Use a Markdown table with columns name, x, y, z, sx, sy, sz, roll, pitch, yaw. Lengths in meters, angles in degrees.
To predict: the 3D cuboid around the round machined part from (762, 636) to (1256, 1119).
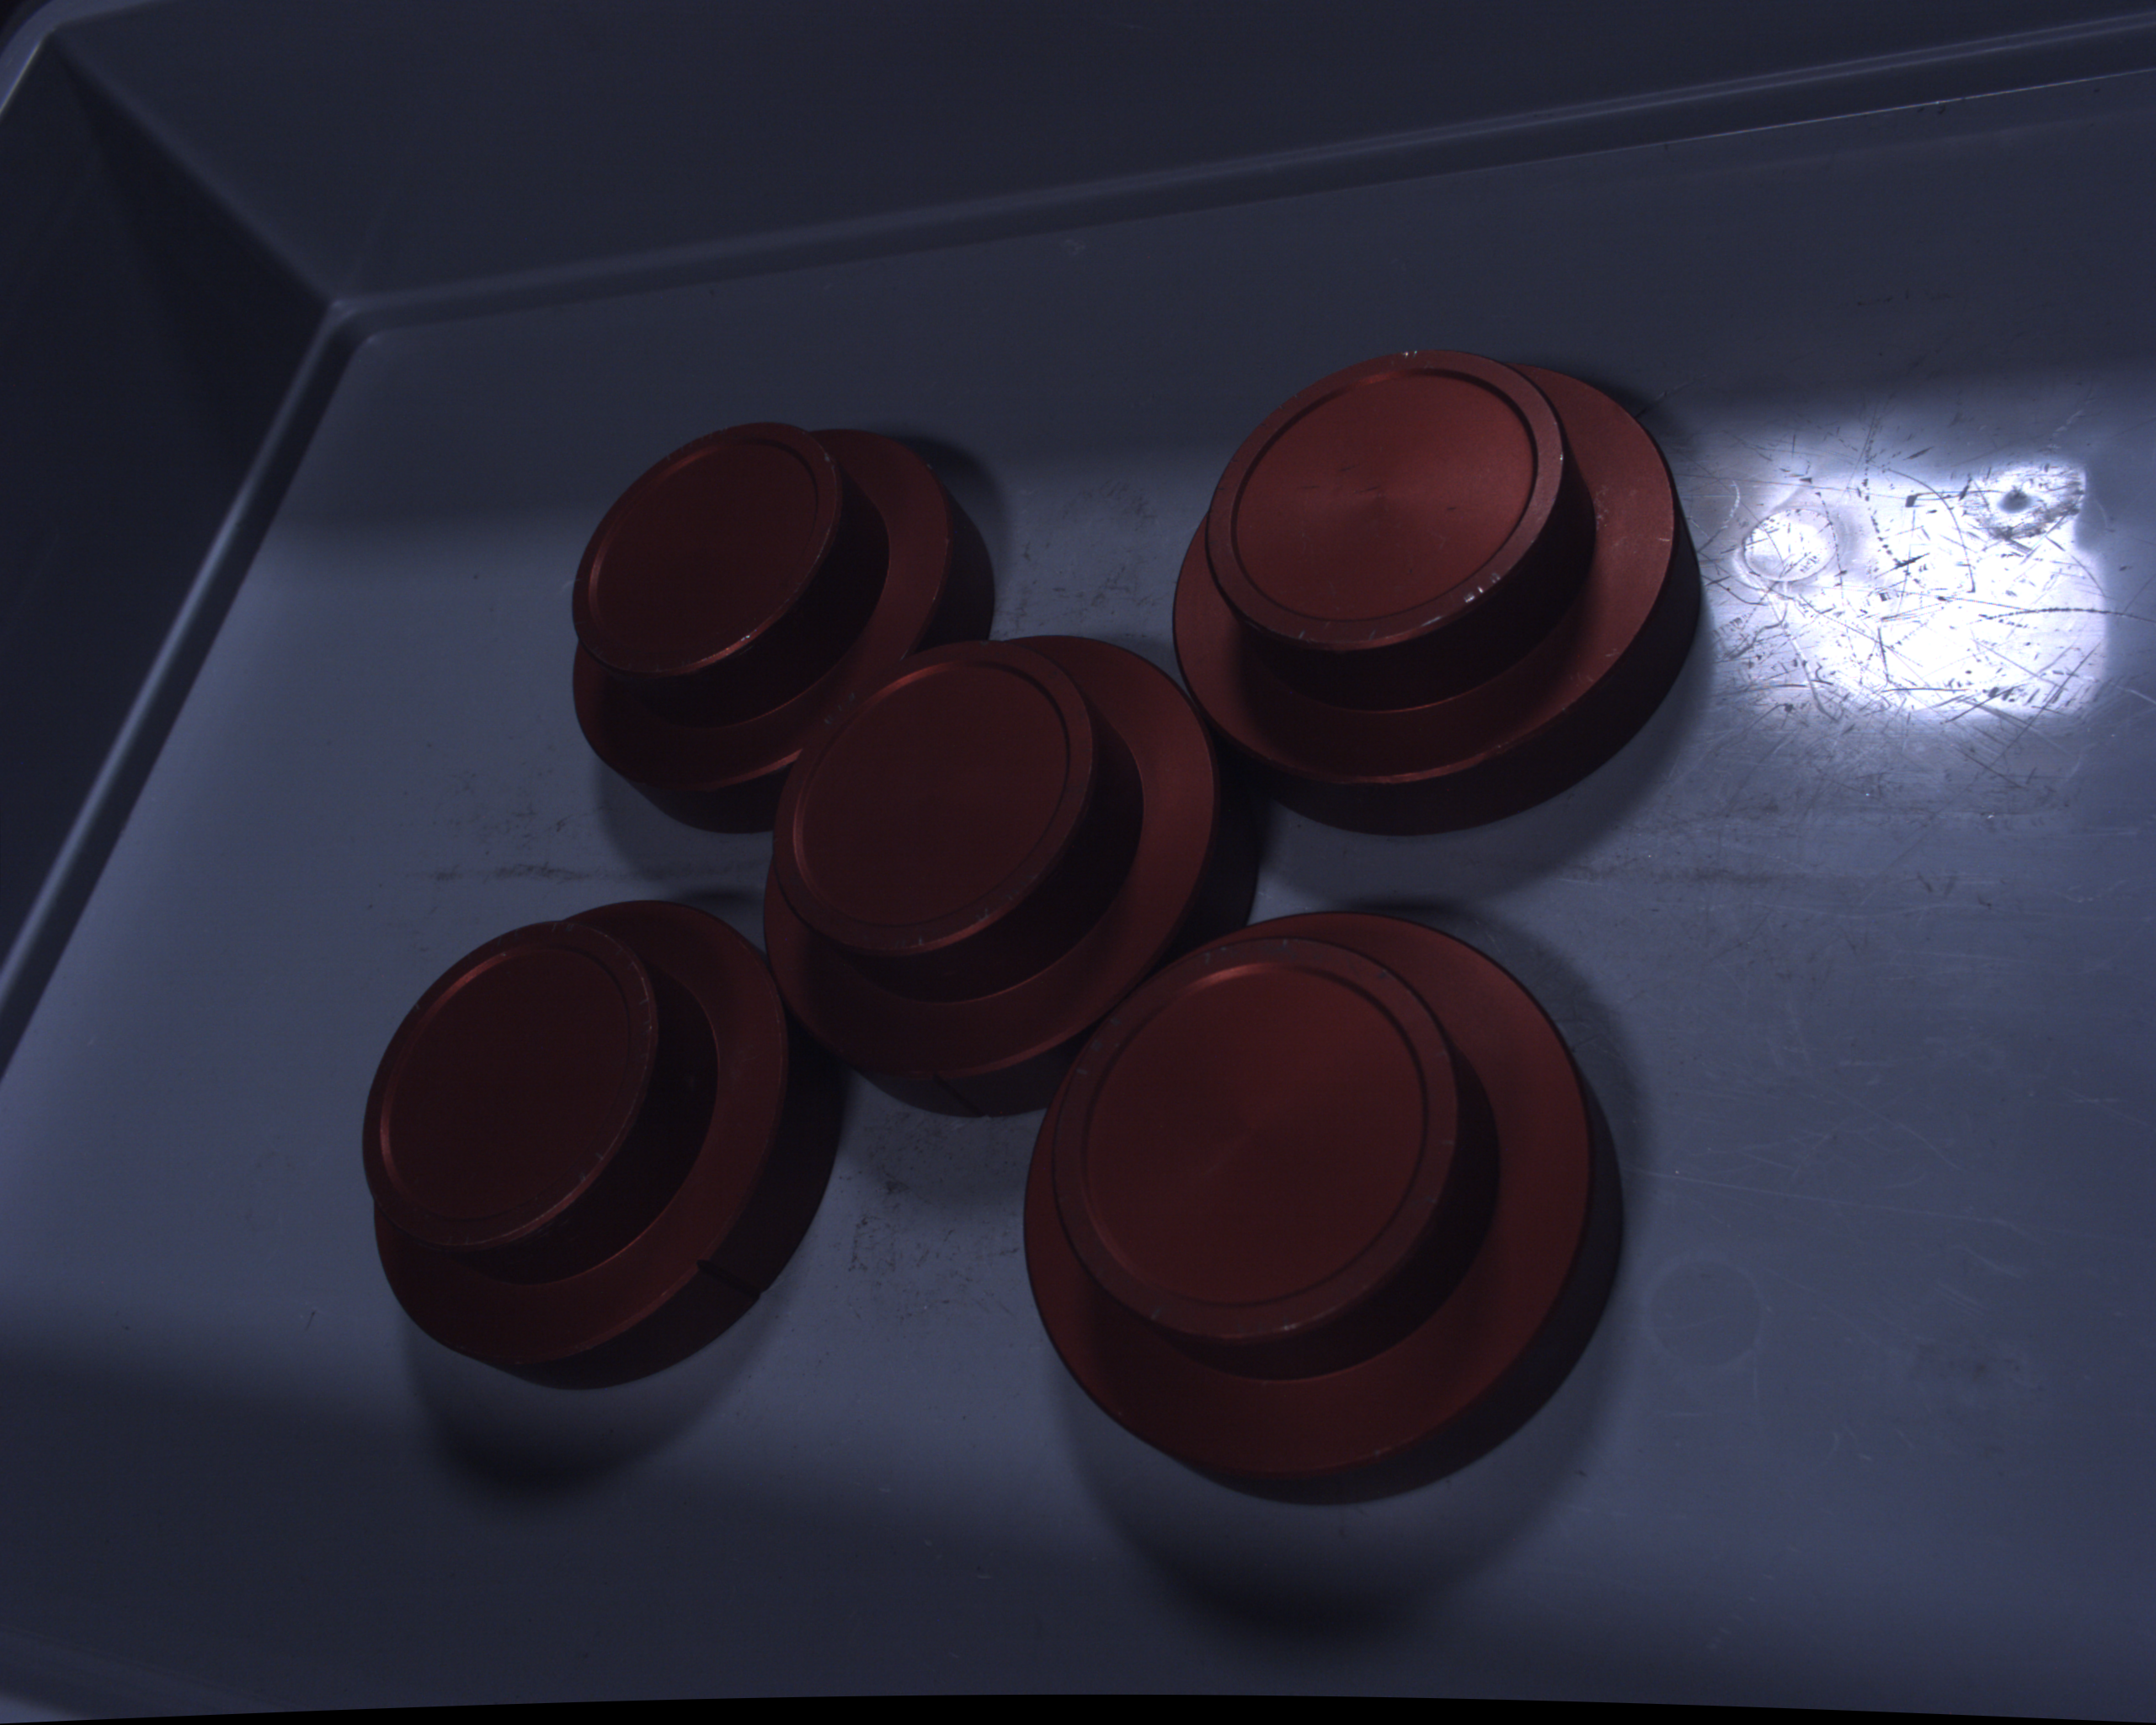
| name | x | y | z | sx | sy | sz | roll | pitch | yaw |
| --- | --- | --- | --- | --- | --- | --- | --- | --- | --- |
| round machined part | -0.019 | -0.003 | 0.403 | 0.098 | 0.042 | 0.098 | -13 | 56 | 20 |

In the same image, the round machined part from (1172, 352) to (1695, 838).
| name | x | y | z | sx | sy | sz | roll | pitch | yaw |
| --- | --- | --- | --- | --- | --- | --- | --- | --- | --- |
| round machined part | 0.063 | -0.057 | 0.394 | 0.098 | 0.042 | 0.098 | -13 | 56 | 20 |

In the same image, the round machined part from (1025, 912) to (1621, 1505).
| name | x | y | z | sx | sy | sz | roll | pitch | yaw |
| --- | --- | --- | --- | --- | --- | --- | --- | --- | --- |
| round machined part | 0.035 | 0.051 | 0.342 | 0.098 | 0.042 | 0.098 | -13 | 56 | 20 |

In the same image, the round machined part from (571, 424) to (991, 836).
| name | x | y | z | sx | sy | sz | roll | pitch | yaw |
| --- | --- | --- | --- | --- | --- | --- | --- | --- | --- |
| round machined part | -0.072 | -0.058 | 0.465 | 0.098 | 0.042 | 0.098 | -13 | 56 | 20 |

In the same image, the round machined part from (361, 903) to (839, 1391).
| name | x | y | z | sx | sy | sz | roll | pitch | yaw |
| --- | --- | --- | --- | --- | --- | --- | --- | --- | --- |
| round machined part | -0.100 | 0.051 | 0.413 | 0.098 | 0.042 | 0.098 | -13 | 56 | 20 |
